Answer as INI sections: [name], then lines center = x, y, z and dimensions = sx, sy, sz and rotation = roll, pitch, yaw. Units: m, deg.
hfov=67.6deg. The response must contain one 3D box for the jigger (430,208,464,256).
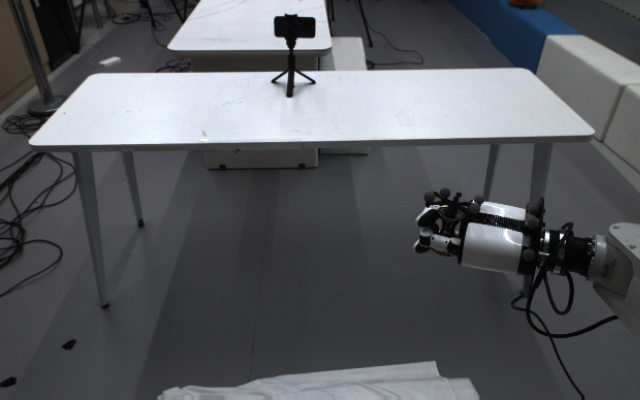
[jigger]
center = 0.211, 0.050, 0.789
dimensions = 0.043, 0.071, 0.043
rotation = 3, 24, -1
